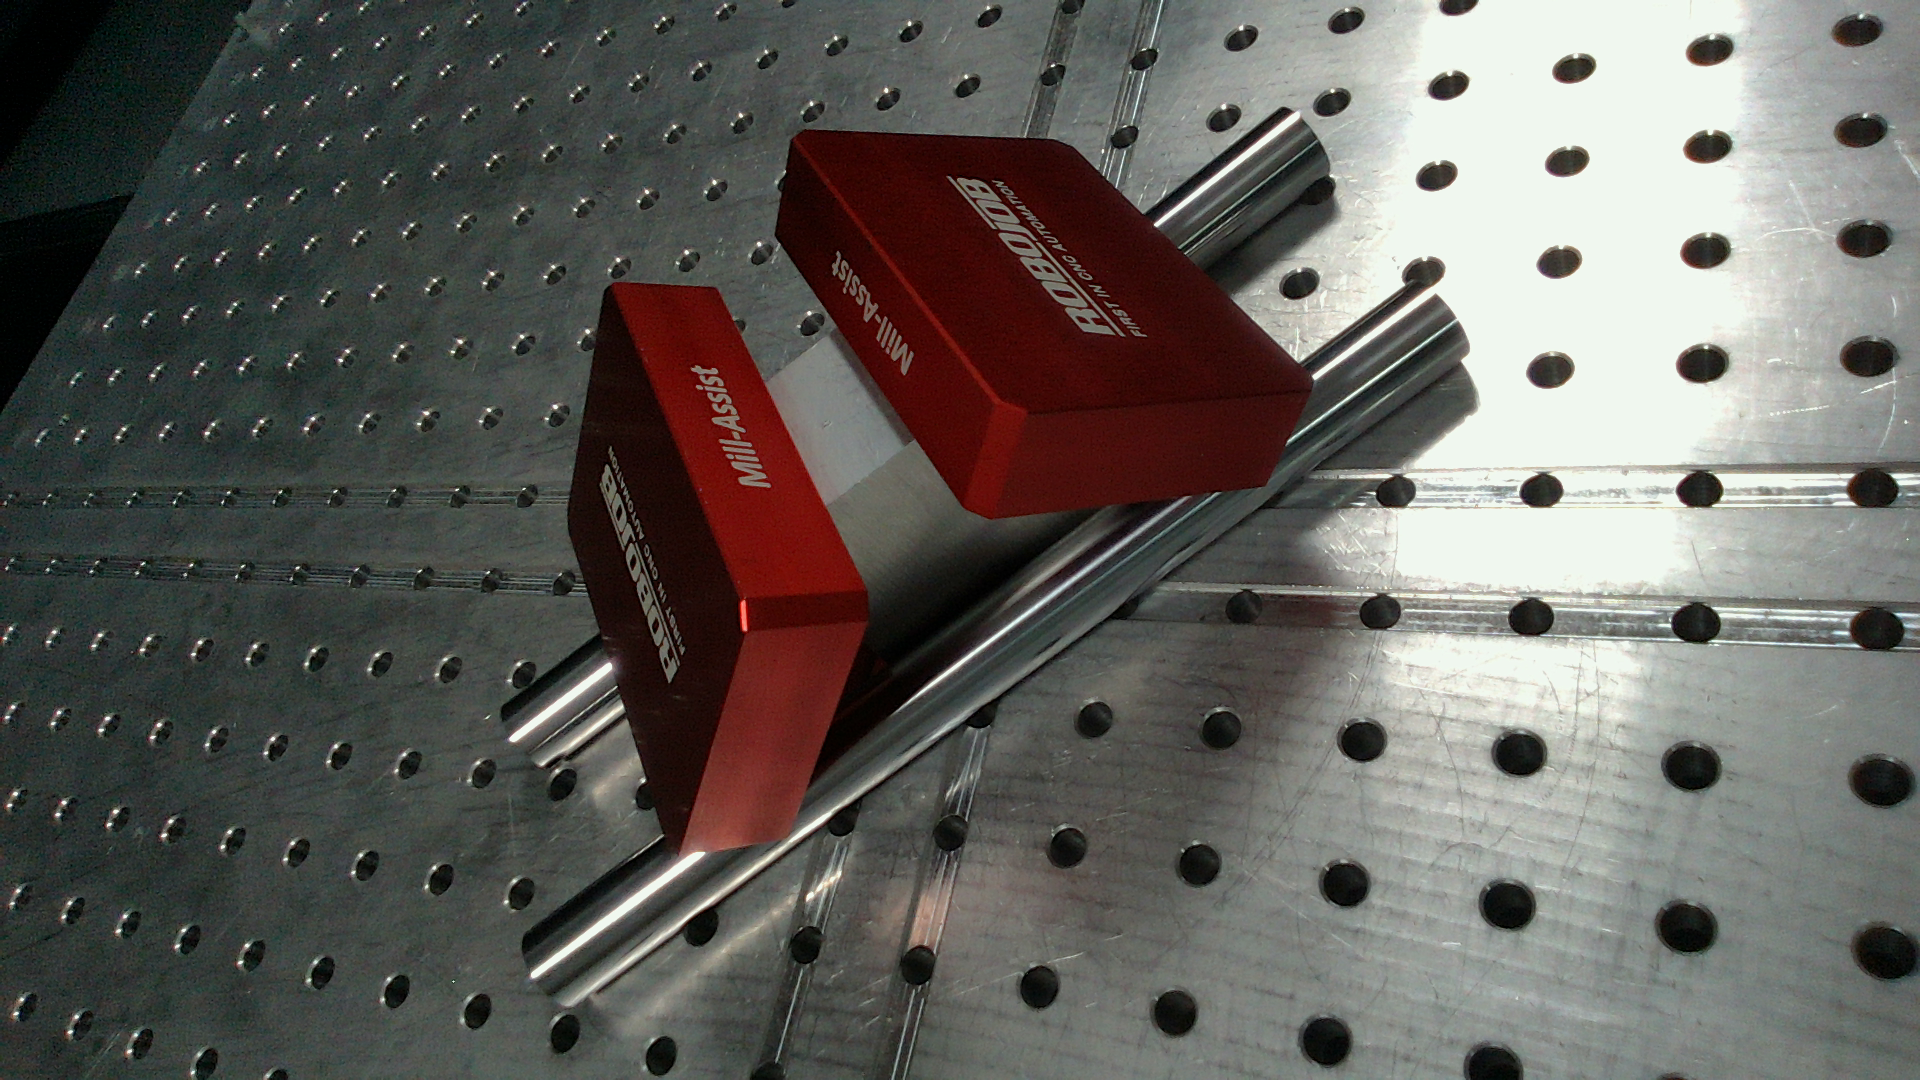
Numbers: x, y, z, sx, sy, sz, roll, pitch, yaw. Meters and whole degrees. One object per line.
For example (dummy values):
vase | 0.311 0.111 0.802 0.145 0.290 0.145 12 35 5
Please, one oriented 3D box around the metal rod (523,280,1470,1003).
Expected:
metal rod | 0.006 0.030 0.375 0.300 0.025 0.025 -36 51 4

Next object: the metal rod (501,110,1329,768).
metal rod | -0.016 -0.029 0.424 0.300 0.025 0.025 -37 51 3

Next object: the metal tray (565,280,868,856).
metal tray | -0.070 0.004 0.363 0.130 0.030 0.090 60 141 39

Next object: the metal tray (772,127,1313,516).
metal tray | 0.017 -0.062 0.355 0.090 0.030 0.130 -7 44 -29

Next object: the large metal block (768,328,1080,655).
large metal block | -0.010 -0.018 0.377 0.080 0.080 0.050 -37 51 4
